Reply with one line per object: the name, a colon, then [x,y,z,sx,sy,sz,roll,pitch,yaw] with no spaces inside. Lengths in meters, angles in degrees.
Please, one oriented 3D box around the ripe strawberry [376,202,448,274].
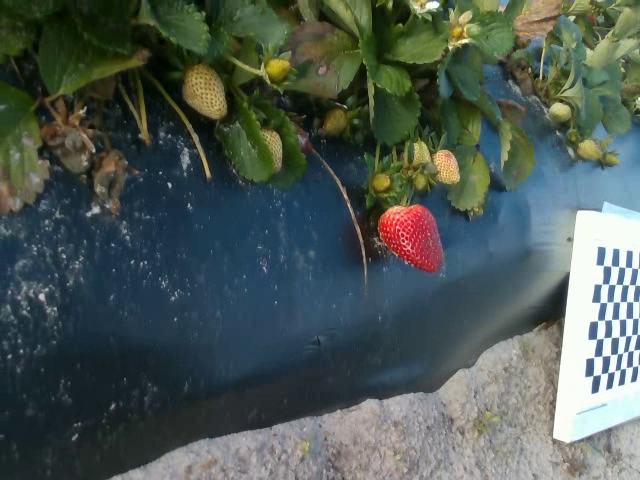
ripe strawberry: [0.082,-0.002,0.509,0.052,0.068,0.045,-1,-38,-44]
